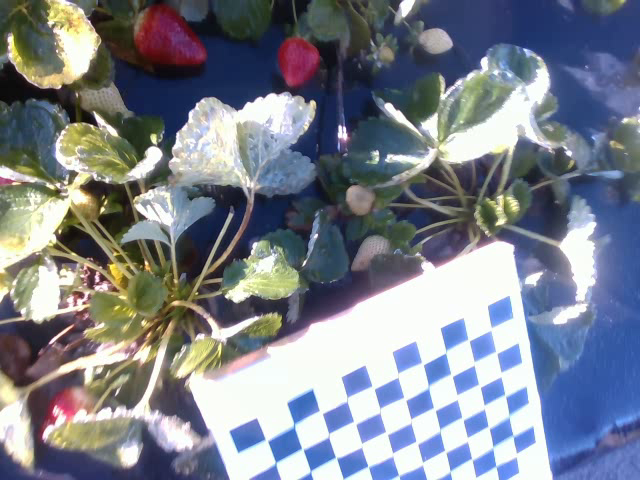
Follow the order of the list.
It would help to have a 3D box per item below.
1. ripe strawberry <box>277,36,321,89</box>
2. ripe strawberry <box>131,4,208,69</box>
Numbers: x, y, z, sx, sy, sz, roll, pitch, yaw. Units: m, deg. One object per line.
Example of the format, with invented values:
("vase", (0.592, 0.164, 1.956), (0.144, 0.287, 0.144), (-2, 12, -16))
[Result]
("ripe strawberry", (-0.016, -0.138, 0.469), (0.039, 0.047, 0.040), (18, -11, -26))
("ripe strawberry", (-0.106, -0.147, 0.442), (0.056, 0.044, 0.040), (30, -5, -25))
